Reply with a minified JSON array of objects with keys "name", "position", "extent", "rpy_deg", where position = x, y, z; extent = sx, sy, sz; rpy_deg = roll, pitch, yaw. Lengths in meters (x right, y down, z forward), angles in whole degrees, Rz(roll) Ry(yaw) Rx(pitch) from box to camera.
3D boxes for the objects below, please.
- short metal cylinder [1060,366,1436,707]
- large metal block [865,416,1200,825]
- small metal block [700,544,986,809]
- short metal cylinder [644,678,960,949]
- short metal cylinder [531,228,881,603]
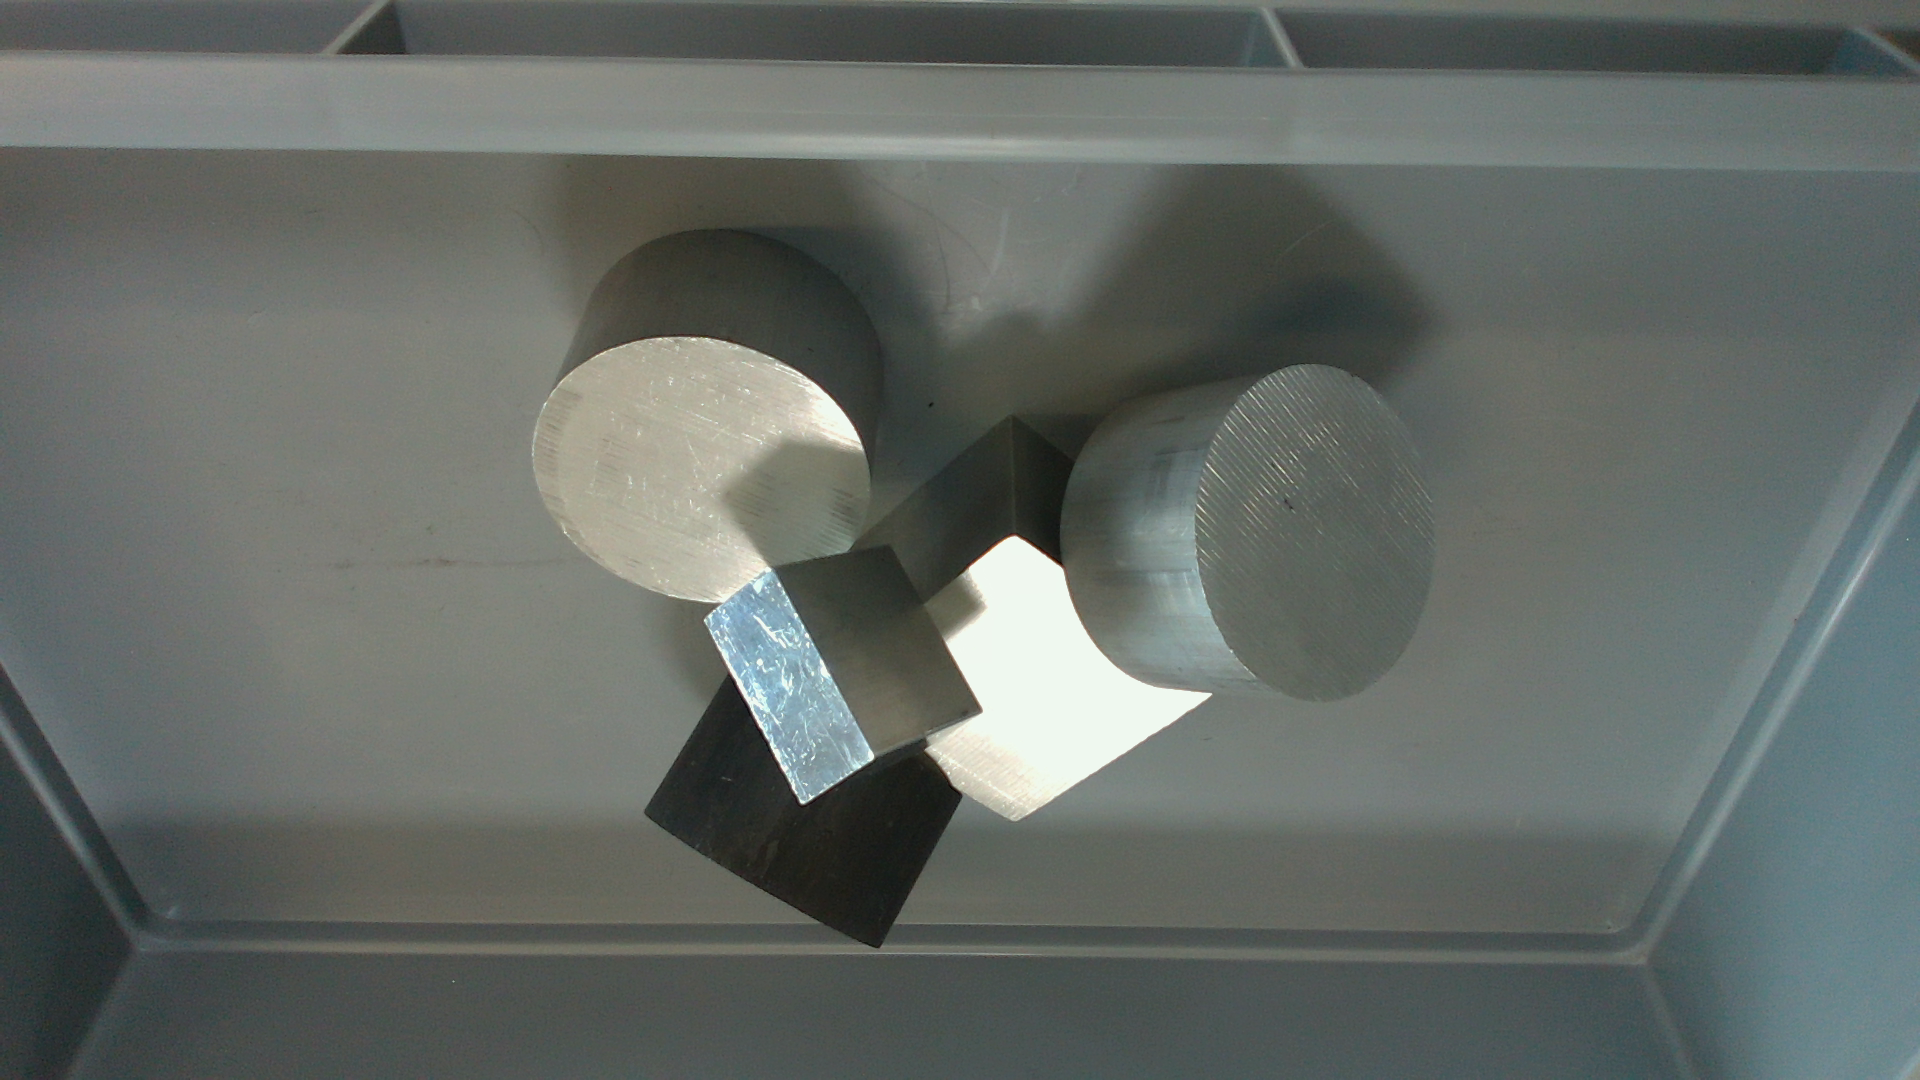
[{"name":"short metal cylinder","position":[0.072,0.000,0.344],"extent":[0.080,0.080,0.050],"rpy_deg":[36,160,-26]},{"name":"large metal block","position":[0.015,0.026,0.391],"extent":[0.080,0.050,0.080],"rpy_deg":[37,121,-27]},{"name":"small metal block","position":[-0.027,0.031,0.334],"extent":[0.025,0.050,0.050],"rpy_deg":[-36,78,28]},{"name":"short metal cylinder","position":[-0.047,0.079,0.412],"extent":[0.080,0.050,0.080],"rpy_deg":[29,168,7]},{"name":"short metal cylinder","position":[-0.061,-0.030,0.347],"extent":[0.080,0.050,0.080],"rpy_deg":[0,130,0]}]
